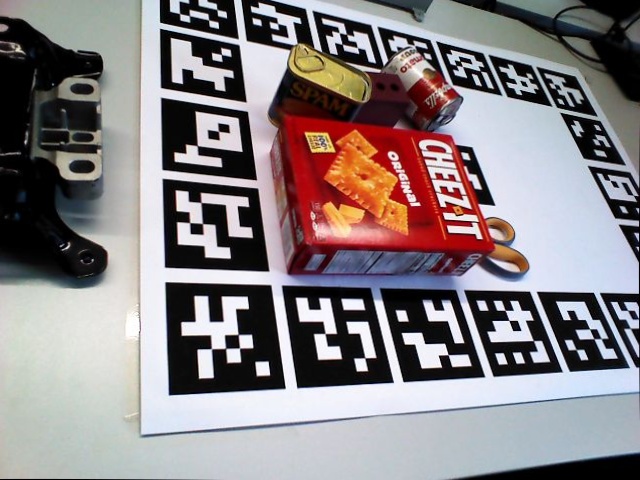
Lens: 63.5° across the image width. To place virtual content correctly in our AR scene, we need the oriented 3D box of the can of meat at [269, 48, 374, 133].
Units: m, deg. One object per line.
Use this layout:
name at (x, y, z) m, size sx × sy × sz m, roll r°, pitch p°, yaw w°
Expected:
can of meat at (-0.001, -0.161, 0.605) m, size 0.102 × 0.084 × 0.057 m, roll 16°, pitch 57°, yaw -16°

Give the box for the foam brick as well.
foam brick at (0.075, -0.175, 0.672) m, size 0.078 × 0.052 × 0.052 m, roll -7°, pitch 66°, yaw -28°

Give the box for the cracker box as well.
cracker box at (0.070, -0.038, 0.557) m, size 0.213 × 0.072 × 0.163 m, roll -3°, pitch 63°, yaw -22°

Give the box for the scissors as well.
scissors at (0.169, 0.014, 0.612) m, size 0.202 × 0.016 × 0.087 m, roll -1°, pitch 63°, yaw -25°

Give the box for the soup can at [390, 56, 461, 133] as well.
soup can at (0.146, -0.195, 0.715) m, size 0.102 × 0.068 × 0.067 m, roll 44°, pitch 53°, yaw 11°
